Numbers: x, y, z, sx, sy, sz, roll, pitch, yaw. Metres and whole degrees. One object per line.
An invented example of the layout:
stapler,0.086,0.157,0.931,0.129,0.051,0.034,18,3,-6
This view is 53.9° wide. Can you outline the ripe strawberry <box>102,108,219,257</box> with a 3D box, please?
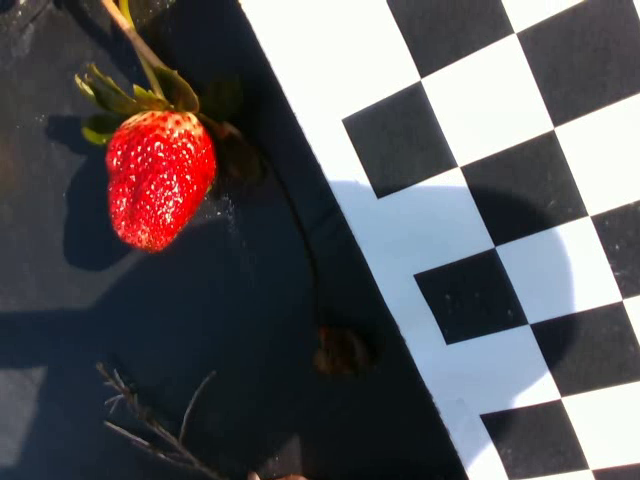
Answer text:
ripe strawberry,-0.020,-0.008,0.073,0.016,0.023,0.015,-13,-35,24
